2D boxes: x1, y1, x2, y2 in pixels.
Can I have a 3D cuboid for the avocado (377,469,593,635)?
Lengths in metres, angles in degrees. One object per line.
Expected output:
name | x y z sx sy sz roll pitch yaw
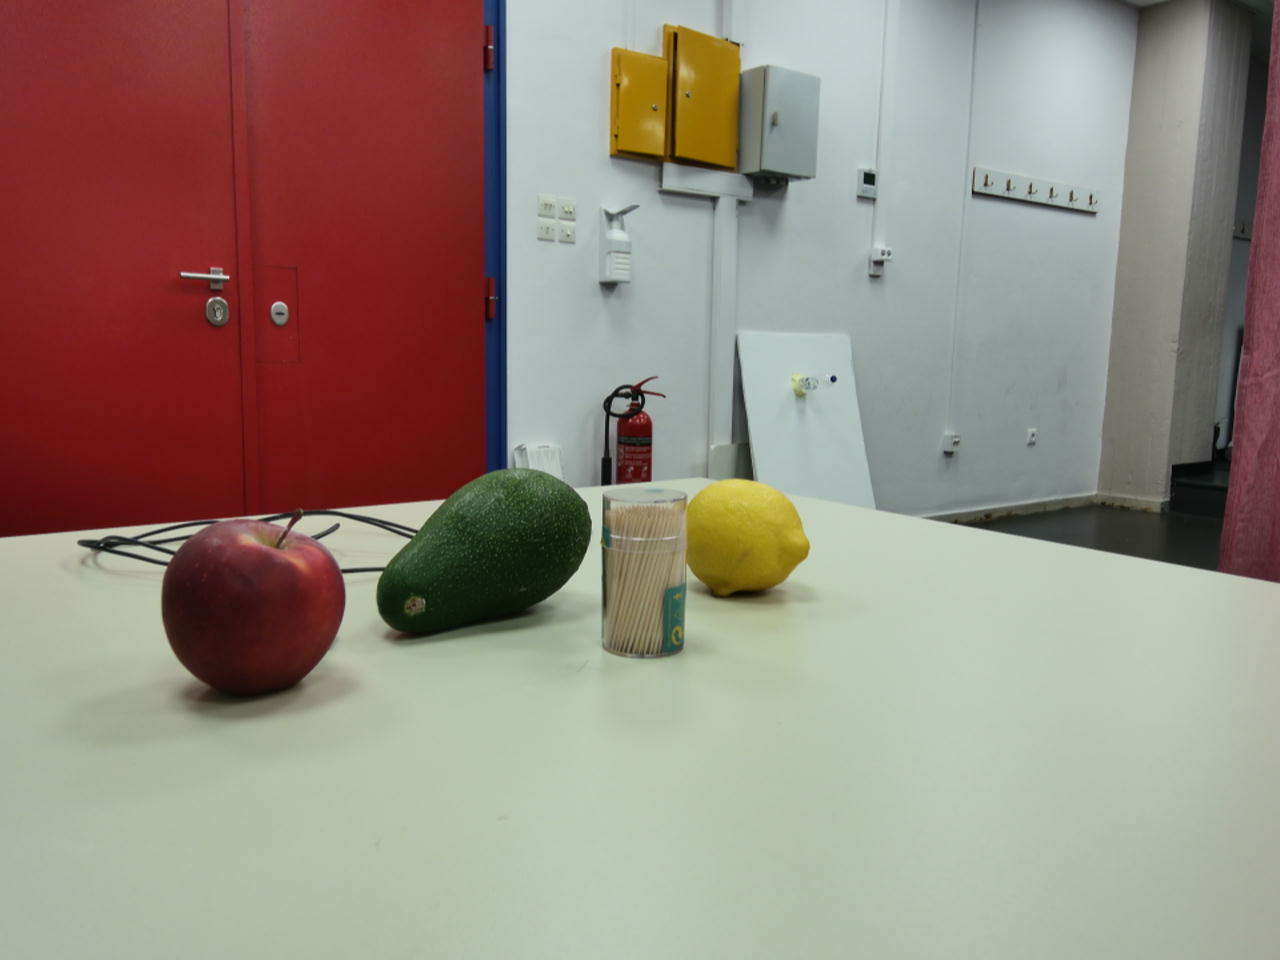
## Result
avocado | -0.082 0.032 0.518 0.123 0.076 0.074 -3 7 -31
